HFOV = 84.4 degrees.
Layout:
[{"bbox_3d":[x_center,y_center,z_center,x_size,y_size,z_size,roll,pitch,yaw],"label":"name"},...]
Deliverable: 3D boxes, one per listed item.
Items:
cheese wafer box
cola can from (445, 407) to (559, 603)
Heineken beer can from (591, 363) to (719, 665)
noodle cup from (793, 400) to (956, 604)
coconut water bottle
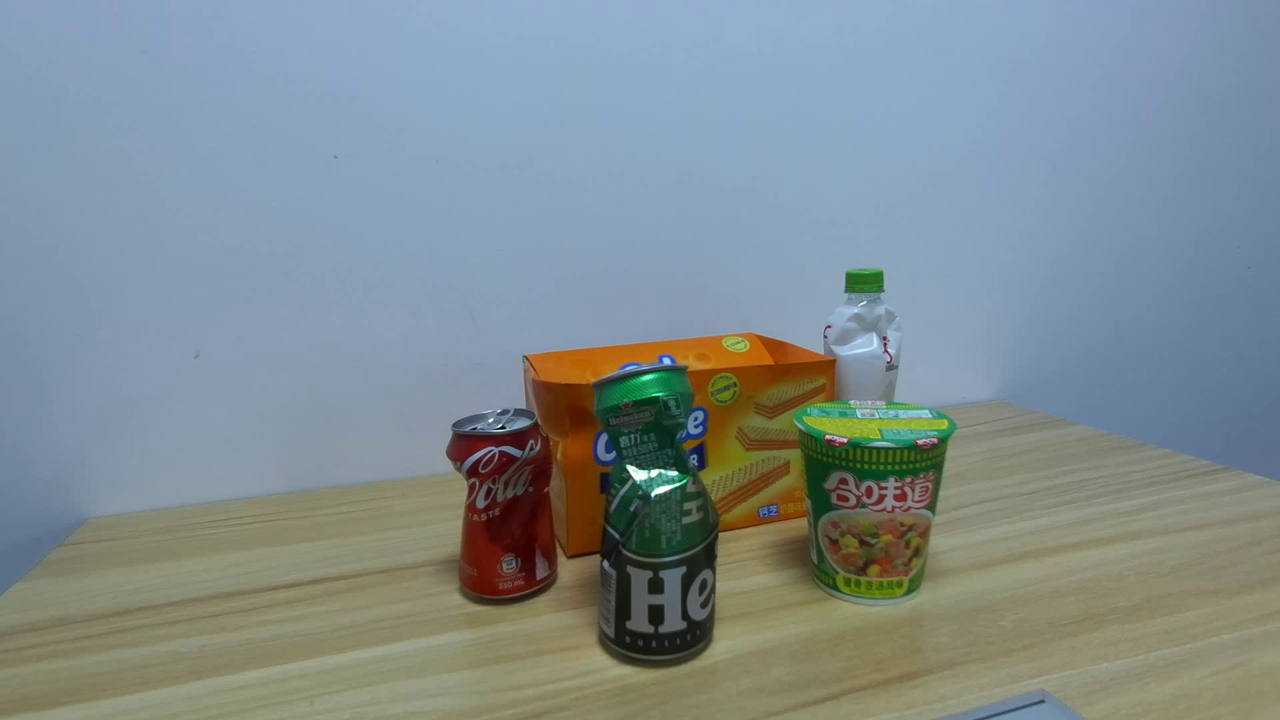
[{"bbox_3d":[0.028,0.059,0.580,0.231,0.132,0.151,-5,12,-18],"label":"cheese wafer box"},{"bbox_3d":[-0.089,0.092,0.462,0.066,0.117,0.066,-6,11,-23],"label":"cola can"},{"bbox_3d":[0.009,0.082,0.392,0.067,0.159,0.078,-8,5,-42],"label":"Heineken beer can"},{"bbox_3d":[0.144,0.089,0.446,0.097,0.110,0.097,-1,13,0],"label":"noodle cup"},{"bbox_3d":[0.187,0.019,0.594,0.069,0.186,0.069,-3,9,1],"label":"coconut water bottle"}]
